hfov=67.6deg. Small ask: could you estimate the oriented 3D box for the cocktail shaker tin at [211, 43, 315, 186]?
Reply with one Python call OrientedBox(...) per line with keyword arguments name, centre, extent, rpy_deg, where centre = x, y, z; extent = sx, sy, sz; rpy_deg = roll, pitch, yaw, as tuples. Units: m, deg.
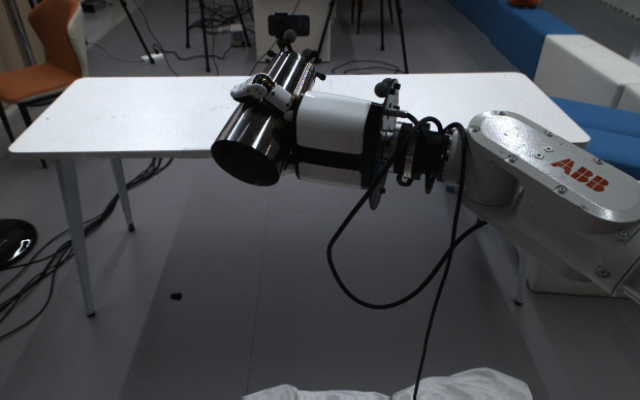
OrientedBox(name="cocktail shaker tin", centre=(-0.065, -0.112, 0.632), extent=(0.093, 0.093, 0.170), rpy_deg=(14, 61, 17))
